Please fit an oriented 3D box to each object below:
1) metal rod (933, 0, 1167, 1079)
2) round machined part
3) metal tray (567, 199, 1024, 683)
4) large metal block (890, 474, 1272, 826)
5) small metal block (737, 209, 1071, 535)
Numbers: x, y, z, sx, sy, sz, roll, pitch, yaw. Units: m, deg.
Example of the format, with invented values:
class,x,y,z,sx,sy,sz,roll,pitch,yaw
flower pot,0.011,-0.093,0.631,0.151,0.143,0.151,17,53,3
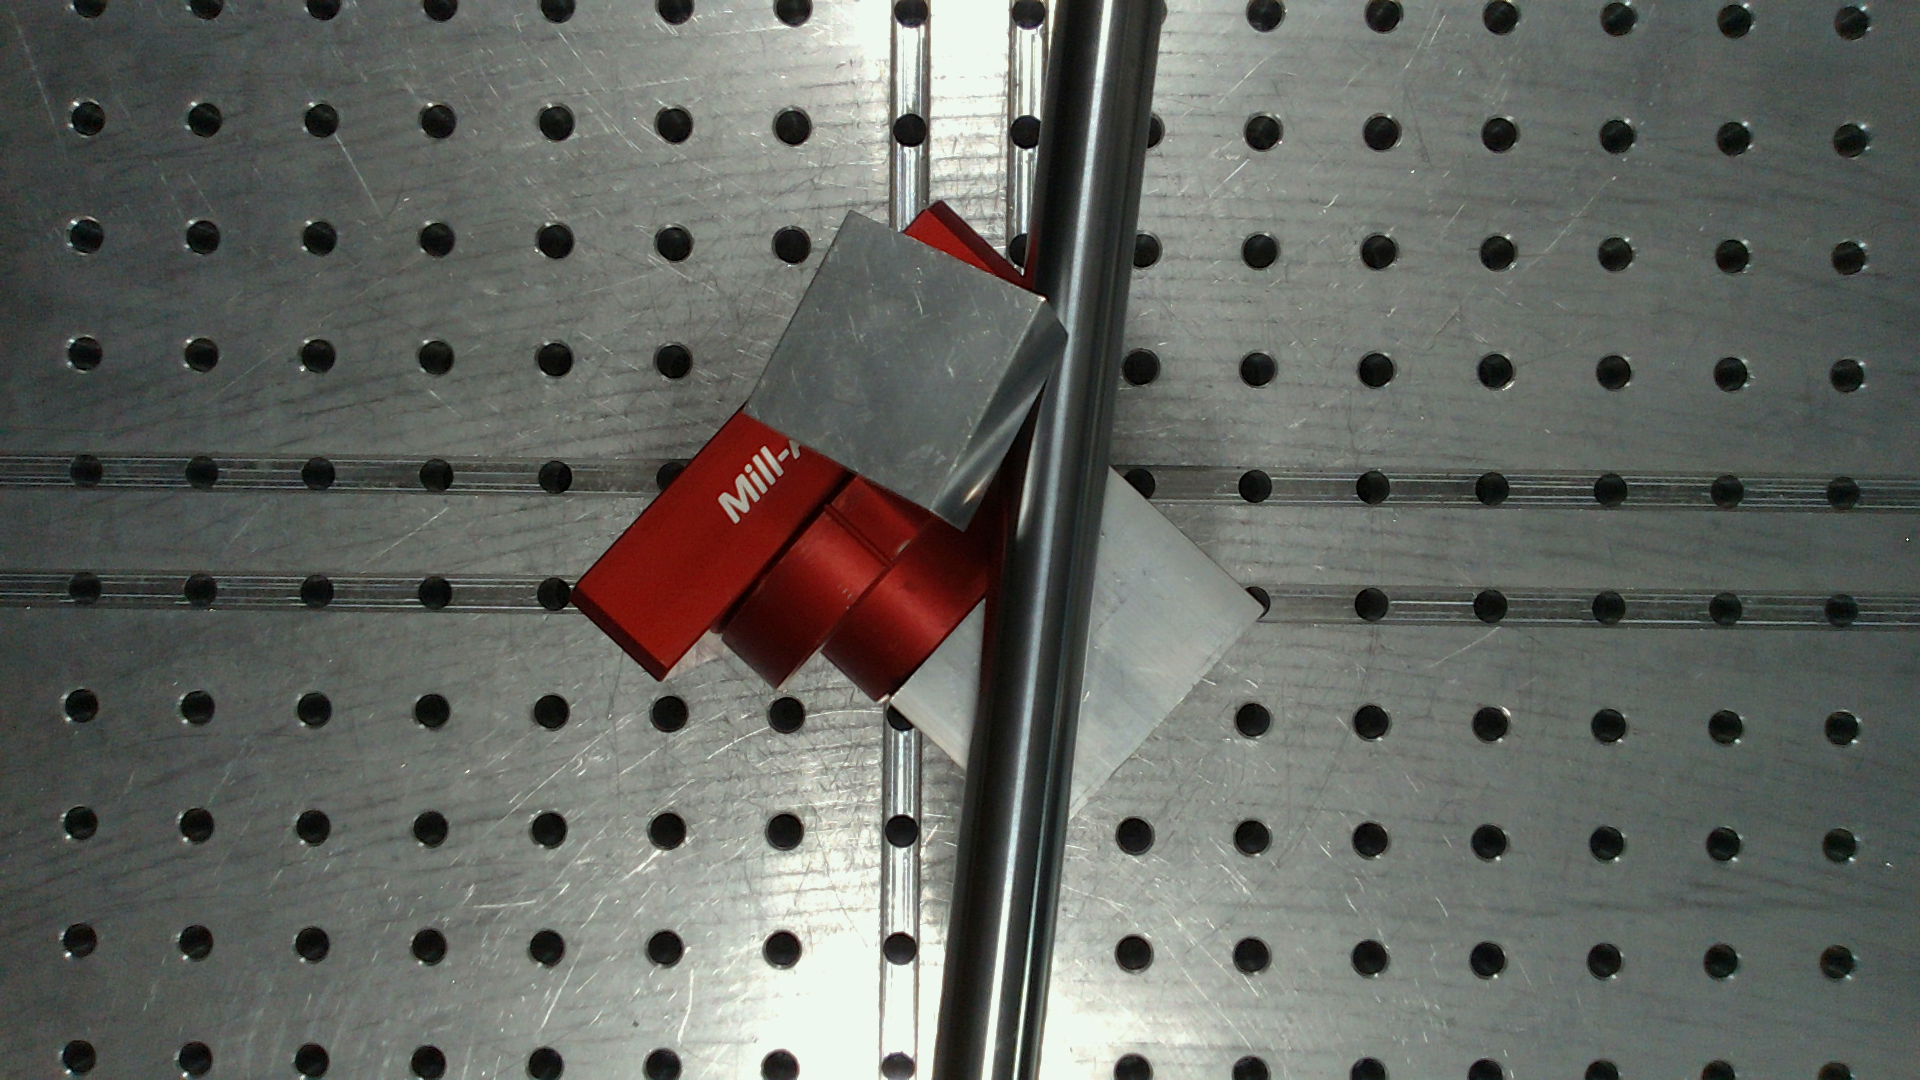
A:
class,x,y,z,sx,sy,sz,roll,pitch,yaw
metal rod,0.019,0.014,0.318,0.025,0.025,0.300,7,90,0
round machined part,-0.016,0.002,0.365,0.042,0.098,0.098,42,90,0
metal tray,-0.038,-0.024,0.365,0.030,0.090,0.130,43,90,0
large metal block,0.029,0.030,0.367,0.050,0.080,0.080,43,90,0
small metal block,-0.012,-0.036,0.300,0.050,0.025,0.050,28,89,19
